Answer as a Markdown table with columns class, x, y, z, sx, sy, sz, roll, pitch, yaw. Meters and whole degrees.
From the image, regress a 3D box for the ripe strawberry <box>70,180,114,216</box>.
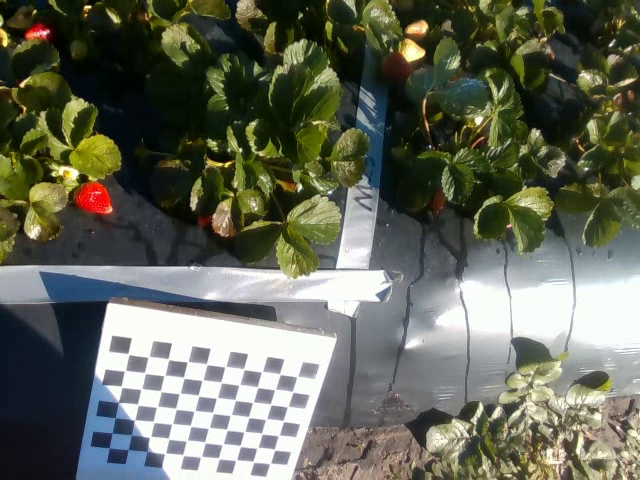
| class | x | y | z | sx | sy | sz | roll | pitch | yaw |
| --- | --- | --- | --- | --- | --- | --- | --- | --- | --- |
| ripe strawberry | -0.283 | -0.050 | 0.769 | 0.058 | 0.046 | 0.042 | 42 | 10 | -3 |
